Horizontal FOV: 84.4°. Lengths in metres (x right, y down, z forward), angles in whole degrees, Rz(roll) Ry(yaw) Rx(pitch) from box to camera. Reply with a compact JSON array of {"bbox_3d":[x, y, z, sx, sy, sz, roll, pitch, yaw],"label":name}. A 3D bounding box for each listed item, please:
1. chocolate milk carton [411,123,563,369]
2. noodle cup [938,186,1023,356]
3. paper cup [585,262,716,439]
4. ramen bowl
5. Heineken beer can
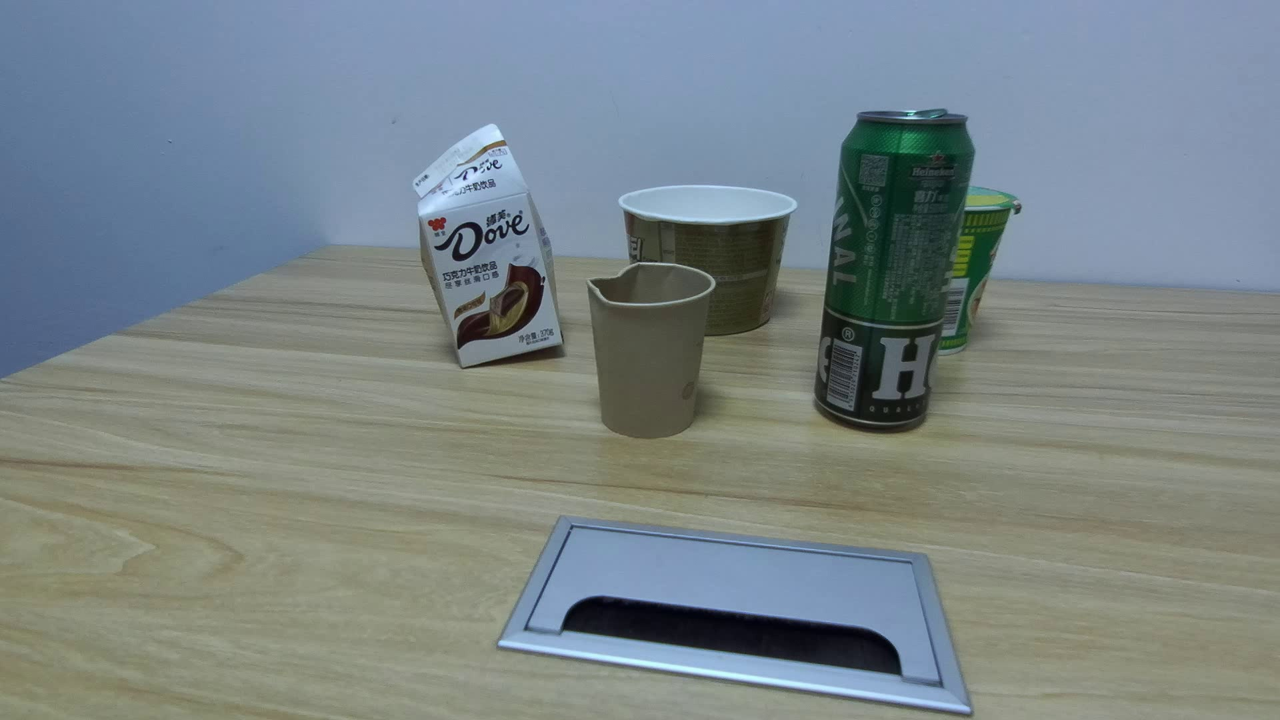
[{"bbox_3d":[-0.105,-0.076,0.491,0.089,0.156,0.076,-20,23,-11],"label":"chocolate milk carton"},{"bbox_3d":[0.210,-0.065,0.512,0.097,0.110,0.097,1,21,0],"label":"noodle cup"},{"bbox_3d":[0.007,-0.005,0.398,0.069,0.081,0.073,-7,24,-19],"label":"paper cup"},{"bbox_3d":[0.051,-0.082,0.565,0.140,0.095,0.140,1,23,0],"label":"ramen bowl"},{"bbox_3d":[0.139,-0.046,0.393,0.067,0.169,0.067,1,21,0],"label":"Heineken beer can"}]
